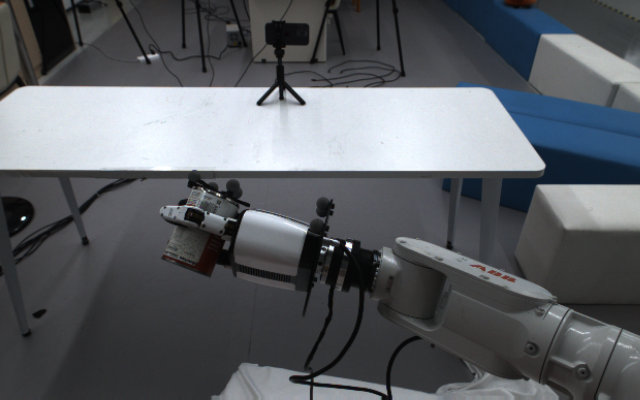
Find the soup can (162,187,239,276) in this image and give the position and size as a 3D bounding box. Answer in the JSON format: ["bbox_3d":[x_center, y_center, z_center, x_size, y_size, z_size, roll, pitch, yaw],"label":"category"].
[{"bbox_3d":[-0.154,0.044,0.632,0.067,0.067,0.101,16,76,19],"label":"soup can"}]
